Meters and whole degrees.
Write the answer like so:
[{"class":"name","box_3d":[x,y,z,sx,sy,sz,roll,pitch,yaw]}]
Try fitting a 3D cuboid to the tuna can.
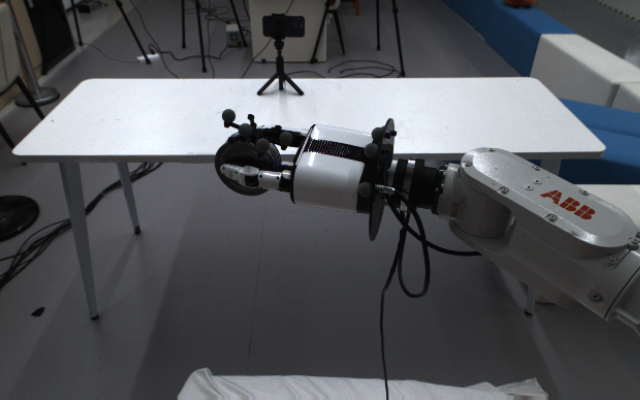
[{"class":"tuna can","box_3d":[-0.096,-0.049,0.659,0.085,0.085,0.034,9,35,10]}]
